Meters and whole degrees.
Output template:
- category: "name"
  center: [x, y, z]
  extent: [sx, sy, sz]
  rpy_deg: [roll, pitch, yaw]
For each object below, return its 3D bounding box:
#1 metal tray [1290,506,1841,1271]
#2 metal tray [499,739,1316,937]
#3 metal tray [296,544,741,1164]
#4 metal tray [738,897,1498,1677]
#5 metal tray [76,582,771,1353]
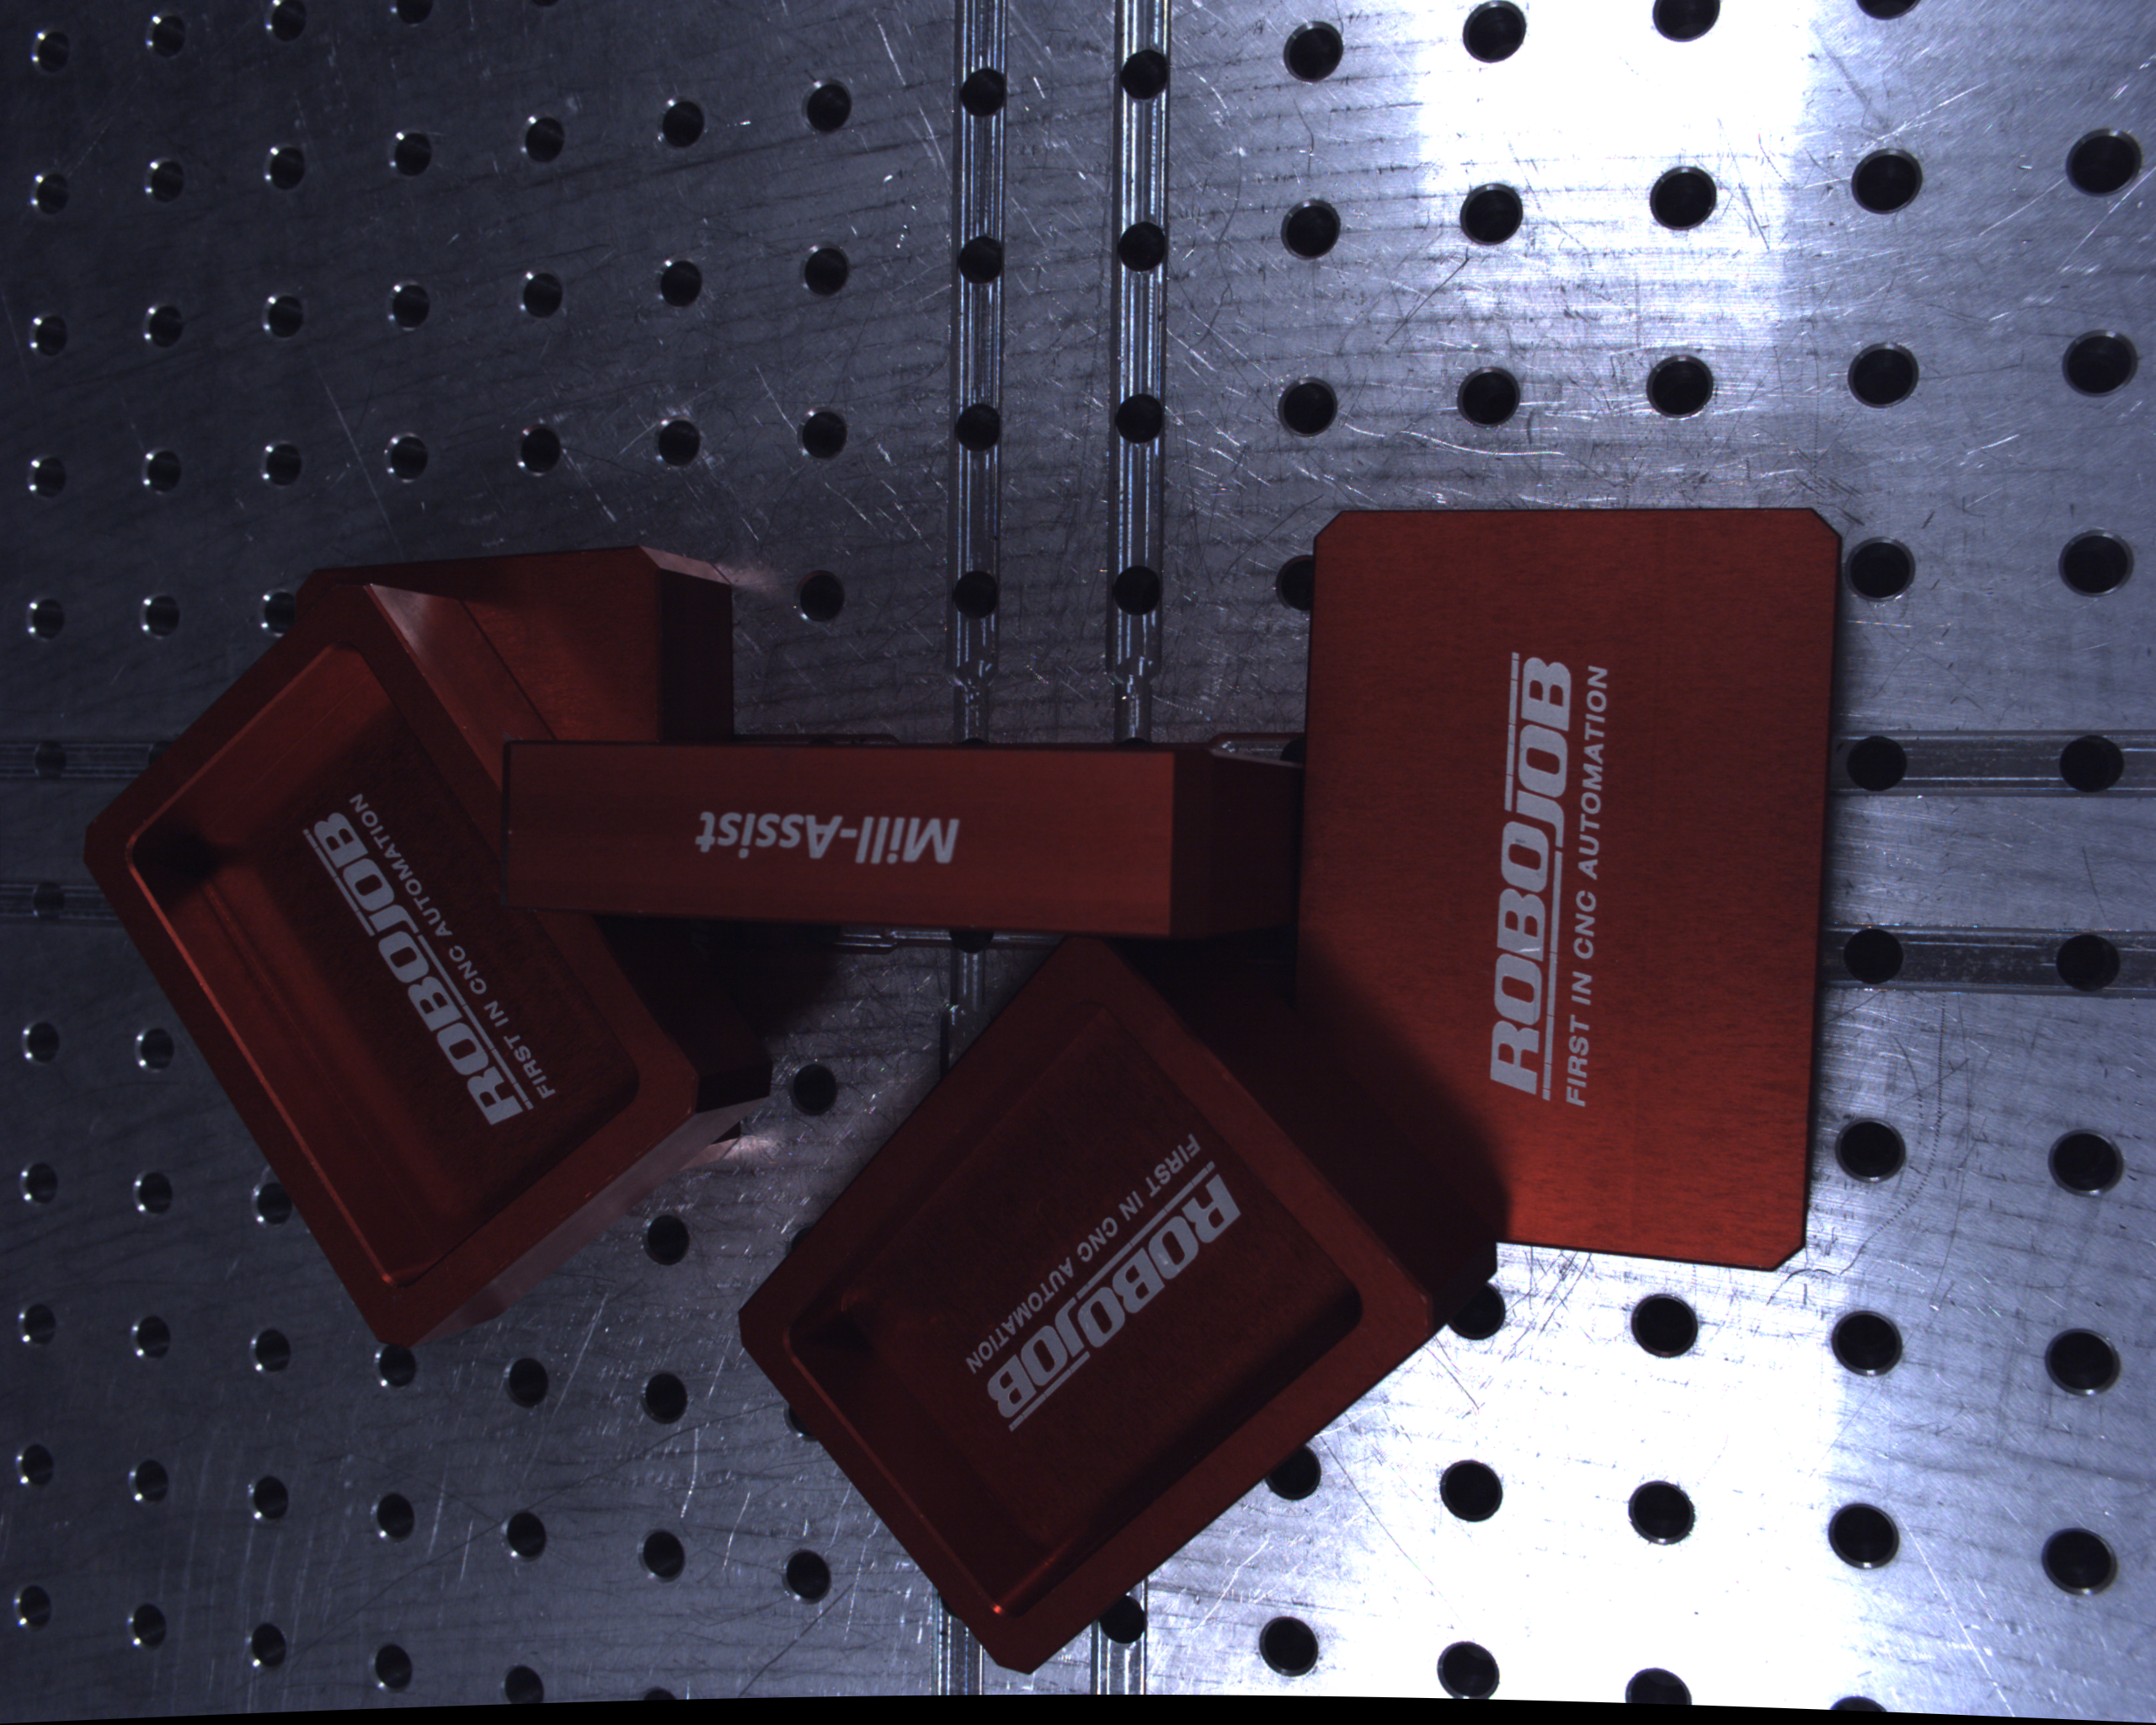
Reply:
- category: "metal tray"
  center: [0.087, 0.003, 0.378]
  extent: [0.090, 0.030, 0.129]
  rpy_deg: [3, 91, 19]
- category: "metal tray"
  center: [-0.027, -0.005, 0.386]
  extent: [0.130, 0.090, 0.030]
  rpy_deg: [2, 91, 19]
- category: "metal tray"
  center: [-0.121, 0.000, 0.451]
  extent: [0.090, 0.030, 0.129]
  rpy_deg: [-1, 90, 20]
- category: "metal tray"
  center: [0.002, 0.081, 0.388]
  extent: [0.090, 0.030, 0.129]
  rpy_deg: [48, 121, 13]
- category: "metal tray"
  center: [-0.134, 0.020, 0.422]
  extent: [0.090, 0.030, 0.130]
  rpy_deg: [-39, 78, 15]
